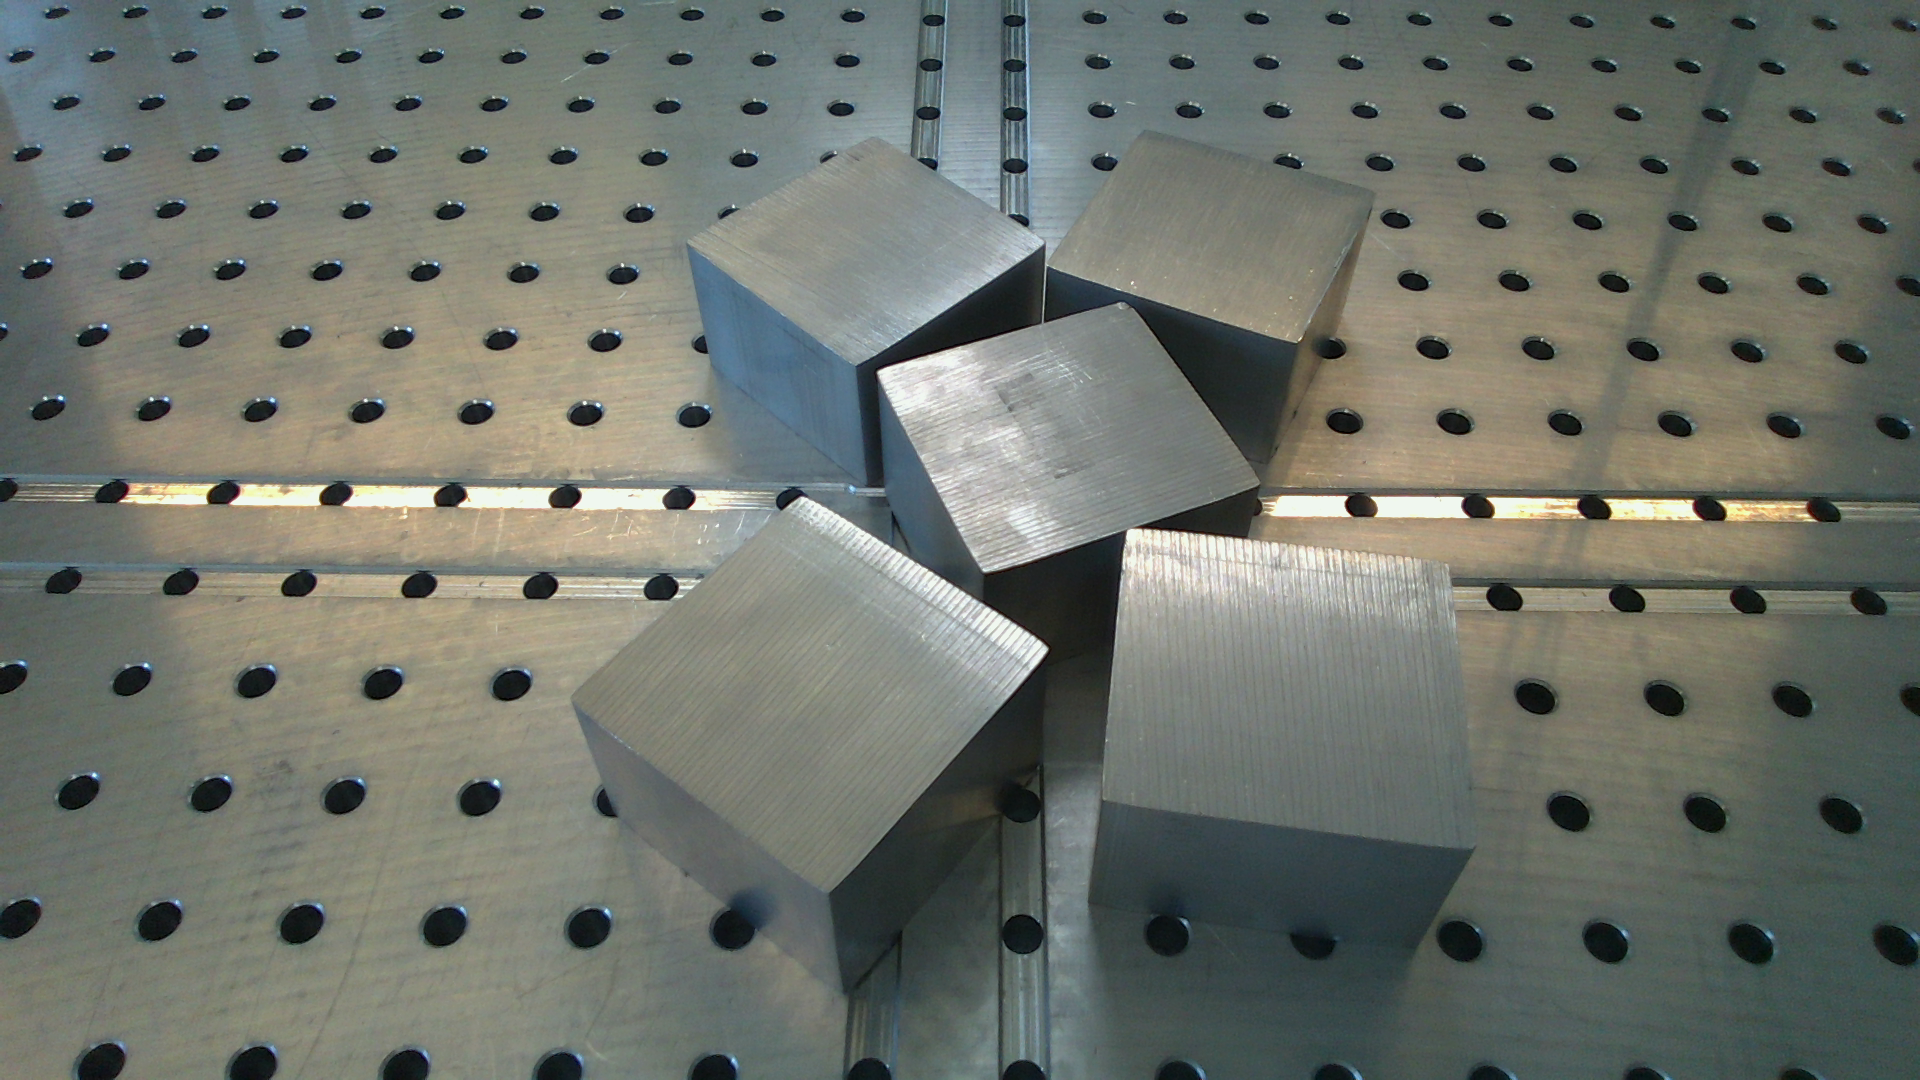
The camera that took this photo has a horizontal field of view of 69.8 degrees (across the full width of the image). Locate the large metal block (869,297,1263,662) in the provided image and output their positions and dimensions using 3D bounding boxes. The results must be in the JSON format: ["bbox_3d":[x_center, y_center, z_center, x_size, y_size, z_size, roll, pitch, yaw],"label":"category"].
[{"bbox_3d":[0.027,-0.016,0.390,0.080,0.050,0.080,-18,52,-14],"label":"large metal block"}]

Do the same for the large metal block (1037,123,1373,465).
[{"bbox_3d":[0.077,-0.081,0.445,0.080,0.050,0.080,22,53,14],"label":"large metal block"}]

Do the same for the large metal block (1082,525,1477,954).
[{"bbox_3d":[0.076,0.048,0.338,0.080,0.050,0.080,7,50,5],"label":"large metal block"}]

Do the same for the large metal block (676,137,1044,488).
[{"bbox_3d":[-0.030,-0.075,0.441,0.080,0.050,0.080,-37,58,-26],"label":"large metal block"}]

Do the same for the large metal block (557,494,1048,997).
[{"bbox_3d":[-0.035,0.047,0.336,0.080,0.050,0.080,30,56,24],"label":"large metal block"}]
